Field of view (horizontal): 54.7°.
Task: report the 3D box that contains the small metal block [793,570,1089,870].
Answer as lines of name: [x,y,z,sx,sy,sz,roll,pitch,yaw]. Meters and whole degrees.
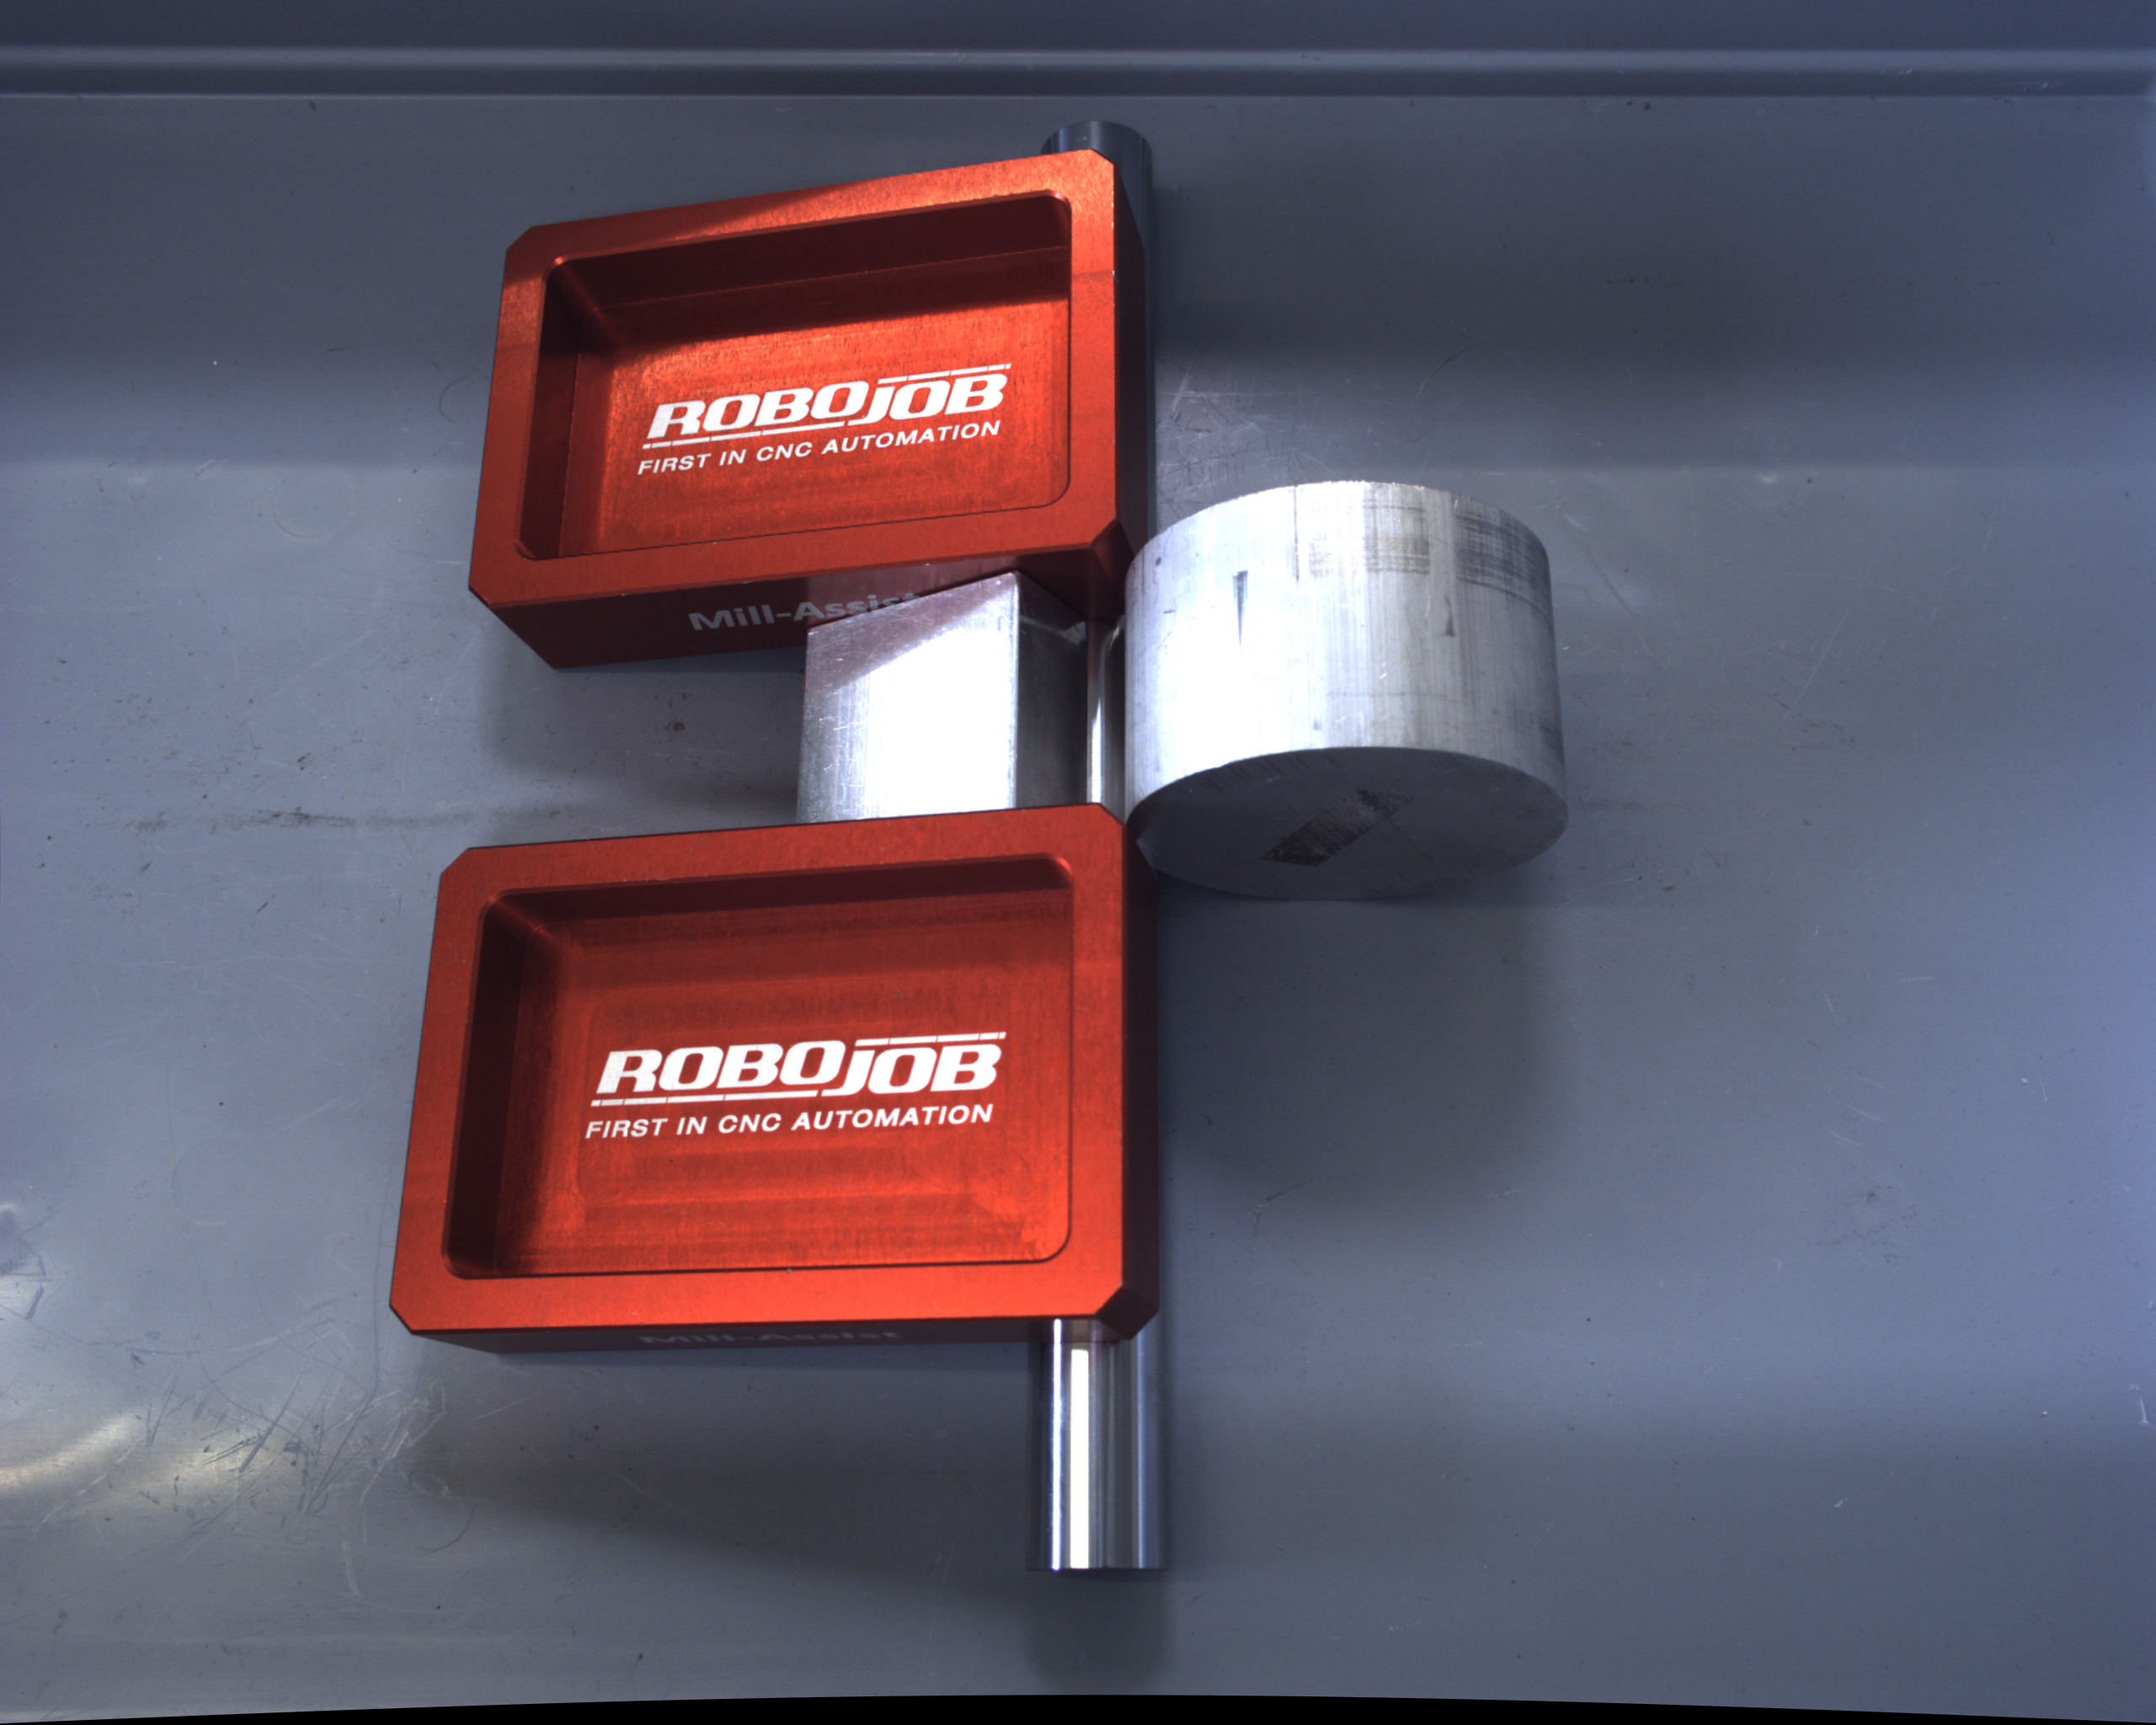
small metal block: [-0.026,-0.024,0.405,0.050,0.025,0.050,-11,67,29]

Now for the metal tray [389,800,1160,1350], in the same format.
metal tray: [-0.052,0.040,0.376,0.131,0.030,0.090,-4,70,11]

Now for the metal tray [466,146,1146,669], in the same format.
metal tray: [-0.053,-0.091,0.423,0.131,0.030,0.090,-4,70,11]

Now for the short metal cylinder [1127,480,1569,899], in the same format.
short metal cylinder: [0.049,-0.029,0.390,0.081,0.080,0.050,0,70,0]

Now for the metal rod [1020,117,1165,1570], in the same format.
metal rod: [0.003,-0.018,0.414,0.025,0.025,0.299,0,70,0]
